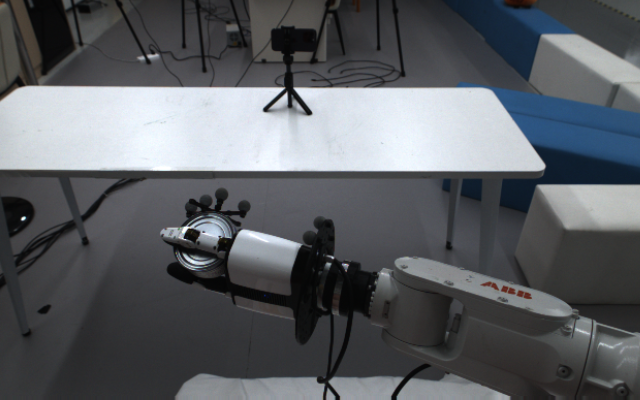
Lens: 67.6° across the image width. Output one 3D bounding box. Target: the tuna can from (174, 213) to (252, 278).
[{"bbox_3d":[-0.149,0.060,0.646,0.085,0.034,0.085,-6,58,10],"label":"tuna can"}]
